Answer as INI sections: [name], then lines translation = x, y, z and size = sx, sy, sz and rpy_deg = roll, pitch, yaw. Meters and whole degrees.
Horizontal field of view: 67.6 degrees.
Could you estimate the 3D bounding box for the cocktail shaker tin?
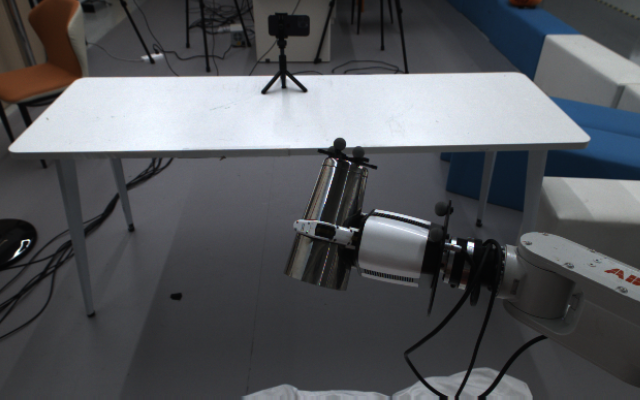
[cocktail shaker tin]
translation = 0.016, 0.032, 0.680
size = 0.093, 0.170, 0.093
rpy_deg = 15, -4, 1
